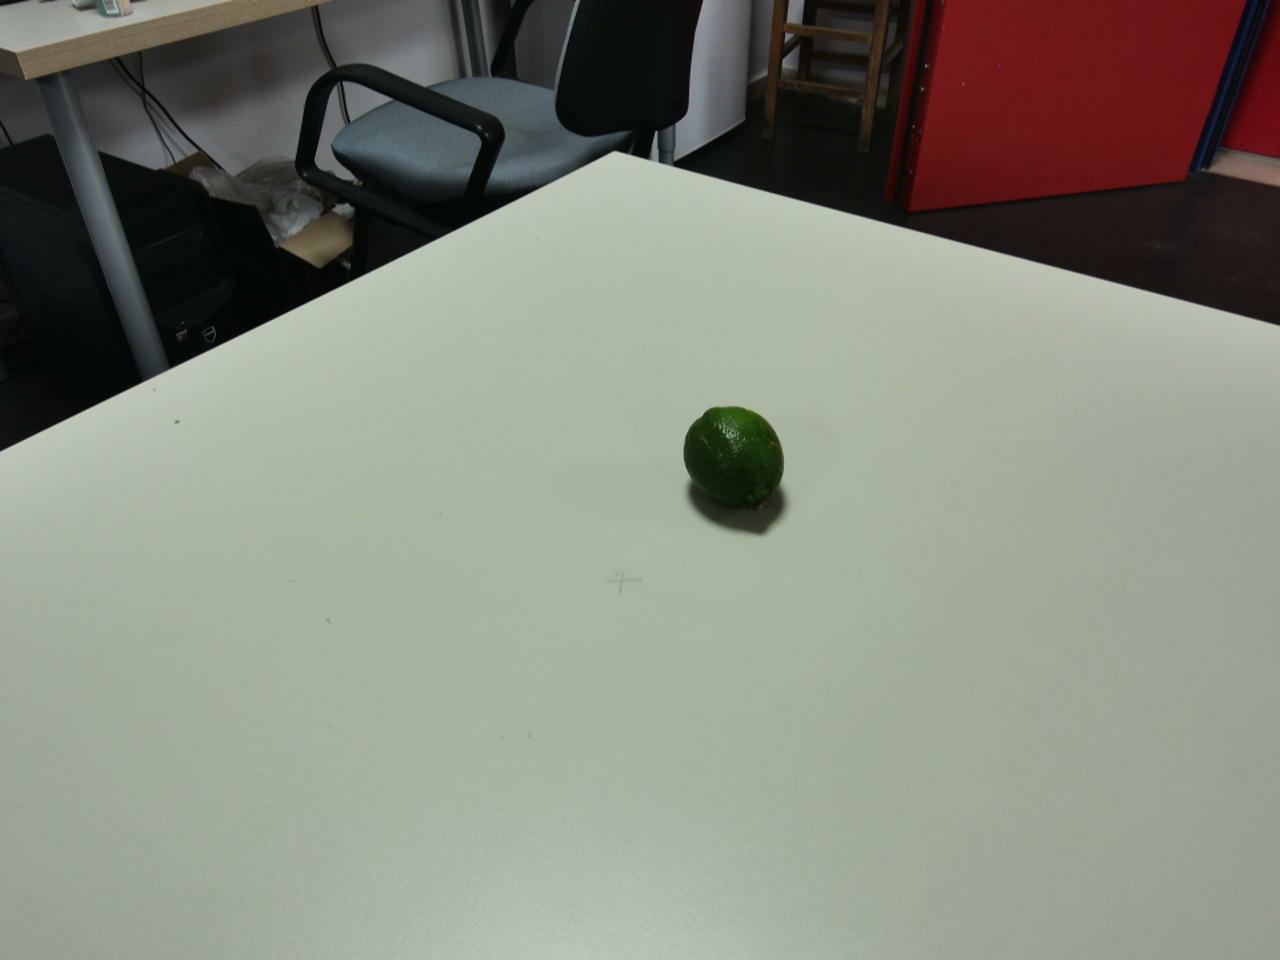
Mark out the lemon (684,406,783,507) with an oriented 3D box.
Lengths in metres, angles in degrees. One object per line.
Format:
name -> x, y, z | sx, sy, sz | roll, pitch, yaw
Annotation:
lemon -> 0.051, -0.014, 0.542 | 0.057, 0.051, 0.054 | 22, 43, 27
